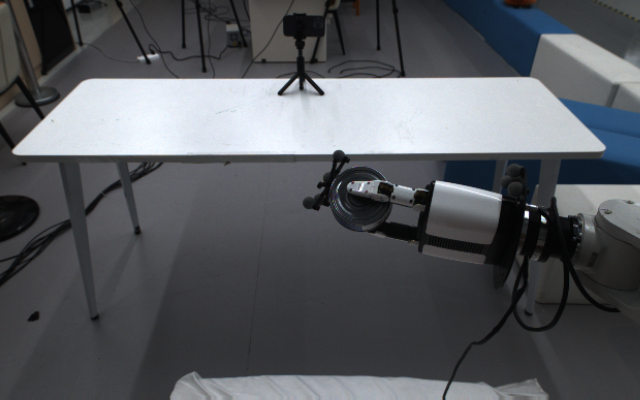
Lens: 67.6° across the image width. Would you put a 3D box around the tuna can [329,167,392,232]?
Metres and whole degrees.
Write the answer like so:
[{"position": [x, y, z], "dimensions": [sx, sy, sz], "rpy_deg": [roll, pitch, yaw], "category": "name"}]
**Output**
[{"position": [0.058, -0.003, 0.656], "dimensions": [0.085, 0.034, 0.085], "rpy_deg": [-2, 71, 5], "category": "tuna can"}]
